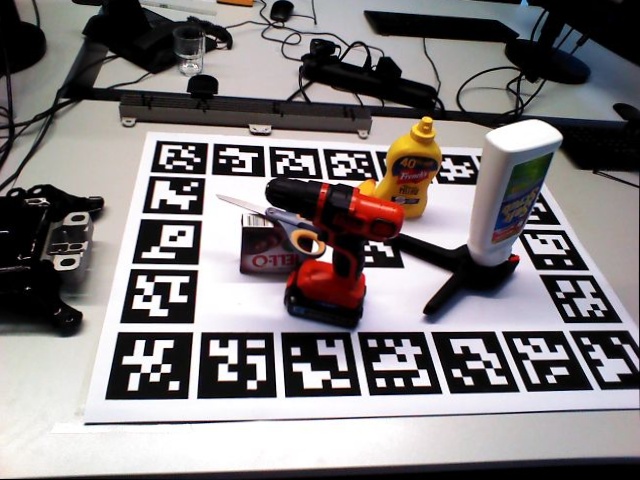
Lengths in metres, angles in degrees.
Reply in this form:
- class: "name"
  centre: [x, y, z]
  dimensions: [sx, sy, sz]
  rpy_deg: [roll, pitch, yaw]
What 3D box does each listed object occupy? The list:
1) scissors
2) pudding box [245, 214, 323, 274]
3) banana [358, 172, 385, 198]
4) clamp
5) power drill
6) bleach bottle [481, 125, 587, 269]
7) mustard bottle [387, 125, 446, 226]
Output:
- class: "scissors"
  centre: [-0.056, -0.043, 0.750]
  dimensions: [0.203, 0.016, 0.087]
  rpy_deg: [23, 49, 6]
- class: "pudding box"
  centre: [-0.055, 0.008, 0.792]
  dimensions: [0.114, 0.090, 0.038]
  rpy_deg: [5, 38, -6]
- class: "banana"
  centre: [0.062, -0.080, 0.931]
  dimensions: [0.196, 0.039, 0.074]
  rpy_deg: [-31, 40, -34]
- class: "clamp"
  centre: [0.256, 0.041, 0.833]
  dimensions: [0.202, 0.037, 0.164]
  rpy_deg: [-2, 47, -14]
- class: "power drill"
  centre: [0.020, 0.014, 0.687]
  dimensions: [0.185, 0.188, 0.057]
  rpy_deg: [9, 37, 3]
- class: "bleach bottle"
  centre: [0.304, -0.043, 0.776]
  dimensions: [0.102, 0.252, 0.068]
  rpy_deg: [-17, 46, -16]
- class: "mustard bottle"
  centre: [0.178, -0.112, 0.891]
  dimensions: [0.096, 0.192, 0.058]
  rpy_deg: [13, 44, 1]
